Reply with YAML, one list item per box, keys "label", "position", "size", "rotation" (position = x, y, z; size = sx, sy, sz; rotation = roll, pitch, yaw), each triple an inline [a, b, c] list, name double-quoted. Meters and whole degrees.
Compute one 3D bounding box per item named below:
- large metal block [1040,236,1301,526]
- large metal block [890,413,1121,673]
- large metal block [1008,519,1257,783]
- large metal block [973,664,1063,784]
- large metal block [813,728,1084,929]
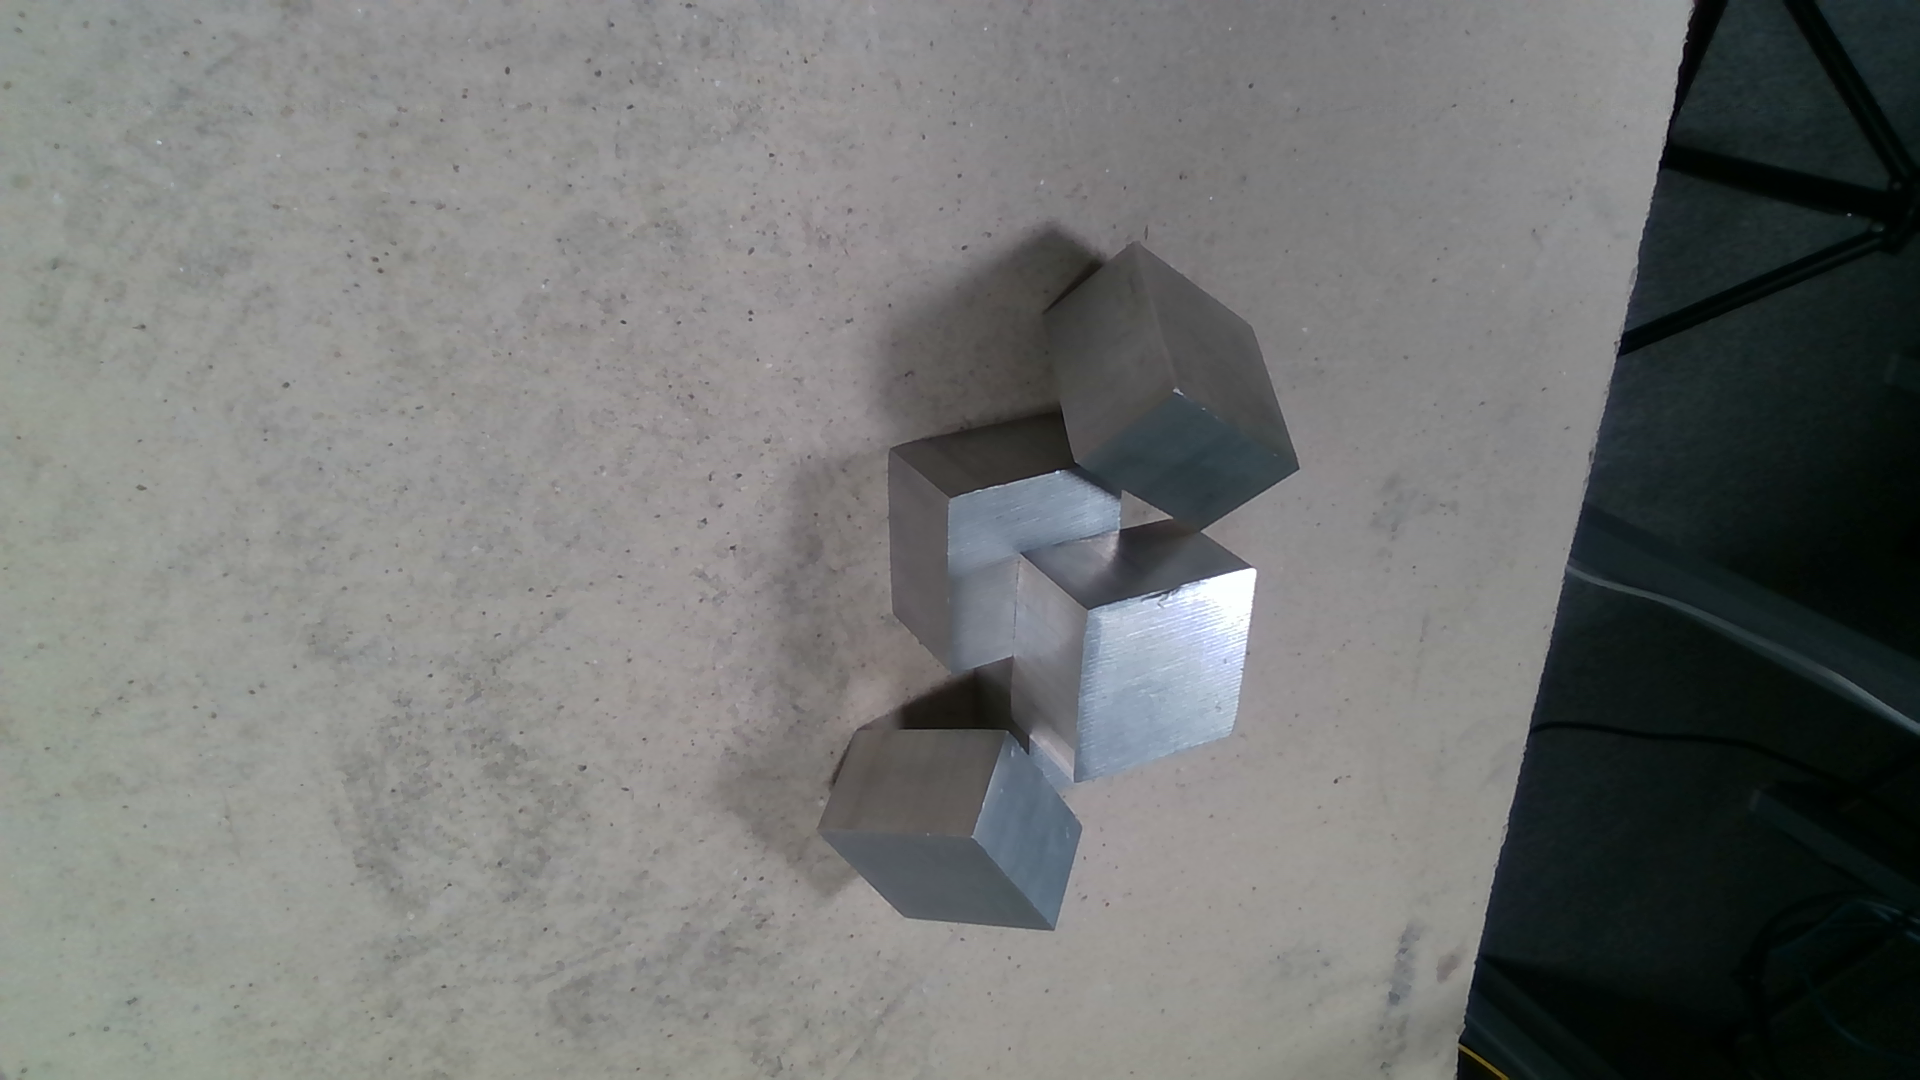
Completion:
- label: "large metal block"
  position: [0.084, -0.061, 0.555]
  size: [0.080, 0.080, 0.050]
  rotation: [25, 133, -38]
- label: "large metal block"
  position: [0.019, -0.001, 0.573]
  size: [0.080, 0.050, 0.080]
  rotation: [-14, 121, -25]
- label: "large metal block"
  position: [0.069, 0.043, 0.563]
  size: [0.080, 0.050, 0.080]
  rotation: [-12, 121, -26]
- label: "large metal block"
  position: [0.053, 0.060, 0.630]
  size: [0.080, 0.050, 0.080]
  rotation: [-14, 121, -25]
- label: "large metal block"
  position: [-0.003, 0.126, 0.603]
  size: [0.080, 0.080, 0.050]
  rotation: [54, 44, -39]
